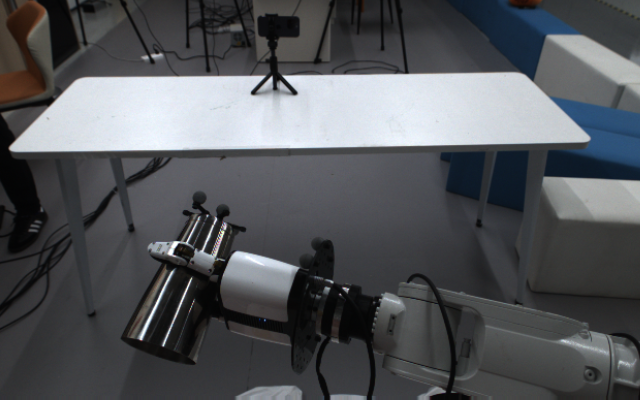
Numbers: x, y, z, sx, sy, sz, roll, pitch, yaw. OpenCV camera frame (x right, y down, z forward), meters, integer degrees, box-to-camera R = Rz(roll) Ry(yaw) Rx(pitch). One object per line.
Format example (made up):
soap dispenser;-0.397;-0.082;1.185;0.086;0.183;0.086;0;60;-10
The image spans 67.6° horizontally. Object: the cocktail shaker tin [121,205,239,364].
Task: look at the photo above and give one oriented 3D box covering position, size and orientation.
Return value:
cocktail shaker tin;-0.163;0.106;0.600;0.093;0.093;0.170;10;59;11
